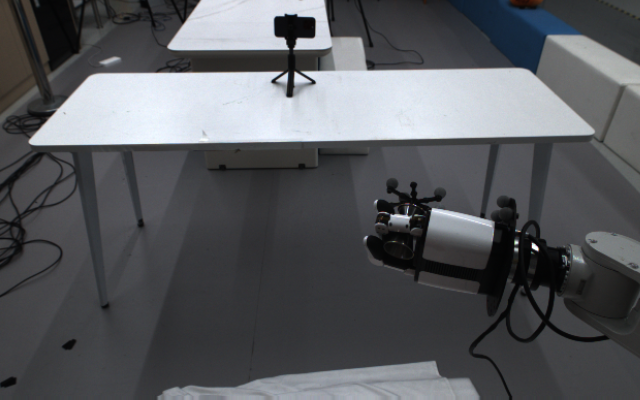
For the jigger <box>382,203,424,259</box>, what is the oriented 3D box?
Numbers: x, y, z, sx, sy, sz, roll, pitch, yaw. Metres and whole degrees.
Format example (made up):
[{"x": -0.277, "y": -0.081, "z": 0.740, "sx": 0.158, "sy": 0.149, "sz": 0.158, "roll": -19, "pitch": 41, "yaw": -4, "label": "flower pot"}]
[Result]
[{"x": 0.122, "y": 0.042, "z": 0.678, "sx": 0.043, "sy": 0.043, "sz": 0.071, "roll": 13, "pitch": 58, "yaw": 15, "label": "jigger"}]
